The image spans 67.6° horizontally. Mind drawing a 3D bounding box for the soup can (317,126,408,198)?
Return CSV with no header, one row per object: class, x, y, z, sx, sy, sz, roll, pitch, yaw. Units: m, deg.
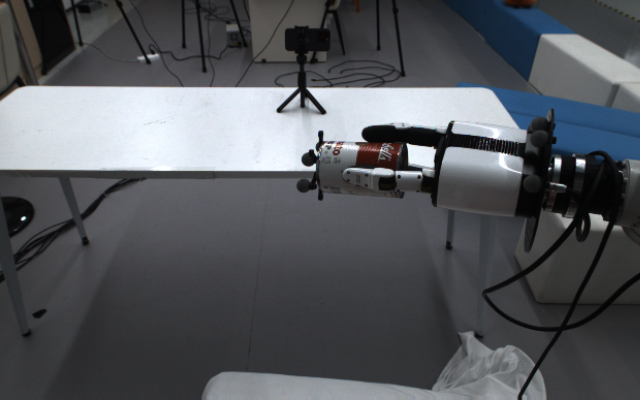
soup can,0.056,-0.039,0.601,0.101,0.067,0.067,4,34,18
